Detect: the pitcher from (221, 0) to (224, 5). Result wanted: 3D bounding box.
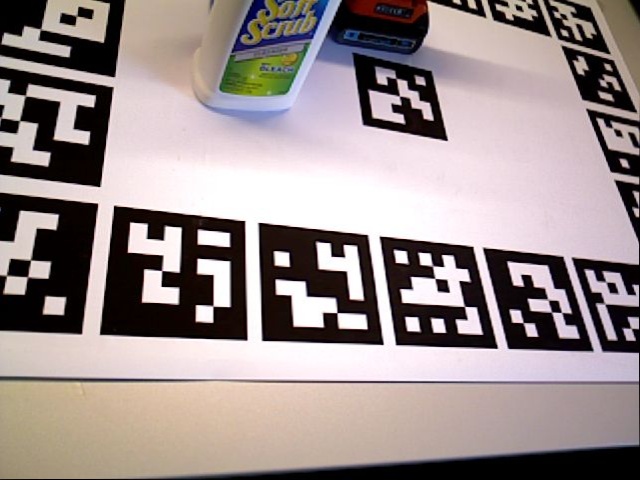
[{"bbox_3d":[-0.017,-0.284,0.446,0.185,0.248,0.133,-23,76,-30],"label":"pitcher"}]

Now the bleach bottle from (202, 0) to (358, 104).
[{"bbox_3d":[-0.011,-0.203,0.383,0.101,0.256,0.067,-2,65,-24],"label":"bleach bottle"}]

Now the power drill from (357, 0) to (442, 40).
[{"bbox_3d":[0.132,-0.281,0.519,0.182,0.191,0.057,3,66,-28],"label":"power drill"}]
